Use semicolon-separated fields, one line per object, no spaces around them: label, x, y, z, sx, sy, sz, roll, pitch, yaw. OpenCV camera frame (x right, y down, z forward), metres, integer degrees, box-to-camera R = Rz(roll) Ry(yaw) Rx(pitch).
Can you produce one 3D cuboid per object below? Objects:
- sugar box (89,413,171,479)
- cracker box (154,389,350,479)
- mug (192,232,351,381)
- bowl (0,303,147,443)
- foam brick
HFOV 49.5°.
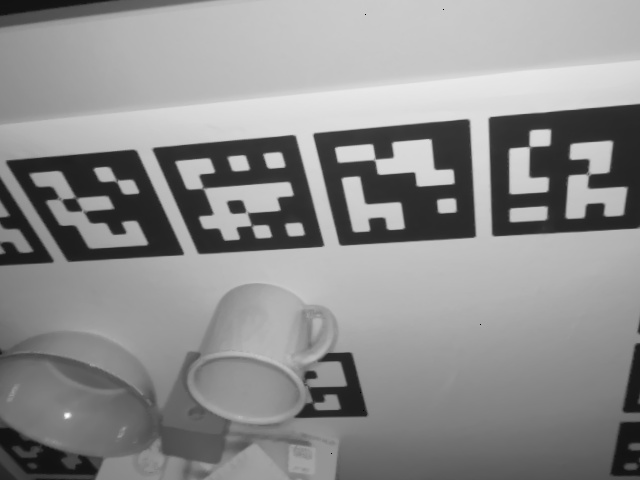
sugar box;-0.172;0.246;0.640;0.093;0.178;0.045;12;130;-4
cracker box;-0.067;0.238;0.600;0.165;0.216;0.071;18;132;-8
mug;-0.033;0.046;0.517;0.116;0.082;0.093;-13;135;14
bowl;-0.221;0.105;0.594;0.161;0.056;0.160;2;129;4
foam brick;-0.095;0.116;0.596;0.053;0.079;0.051;7;131;0
